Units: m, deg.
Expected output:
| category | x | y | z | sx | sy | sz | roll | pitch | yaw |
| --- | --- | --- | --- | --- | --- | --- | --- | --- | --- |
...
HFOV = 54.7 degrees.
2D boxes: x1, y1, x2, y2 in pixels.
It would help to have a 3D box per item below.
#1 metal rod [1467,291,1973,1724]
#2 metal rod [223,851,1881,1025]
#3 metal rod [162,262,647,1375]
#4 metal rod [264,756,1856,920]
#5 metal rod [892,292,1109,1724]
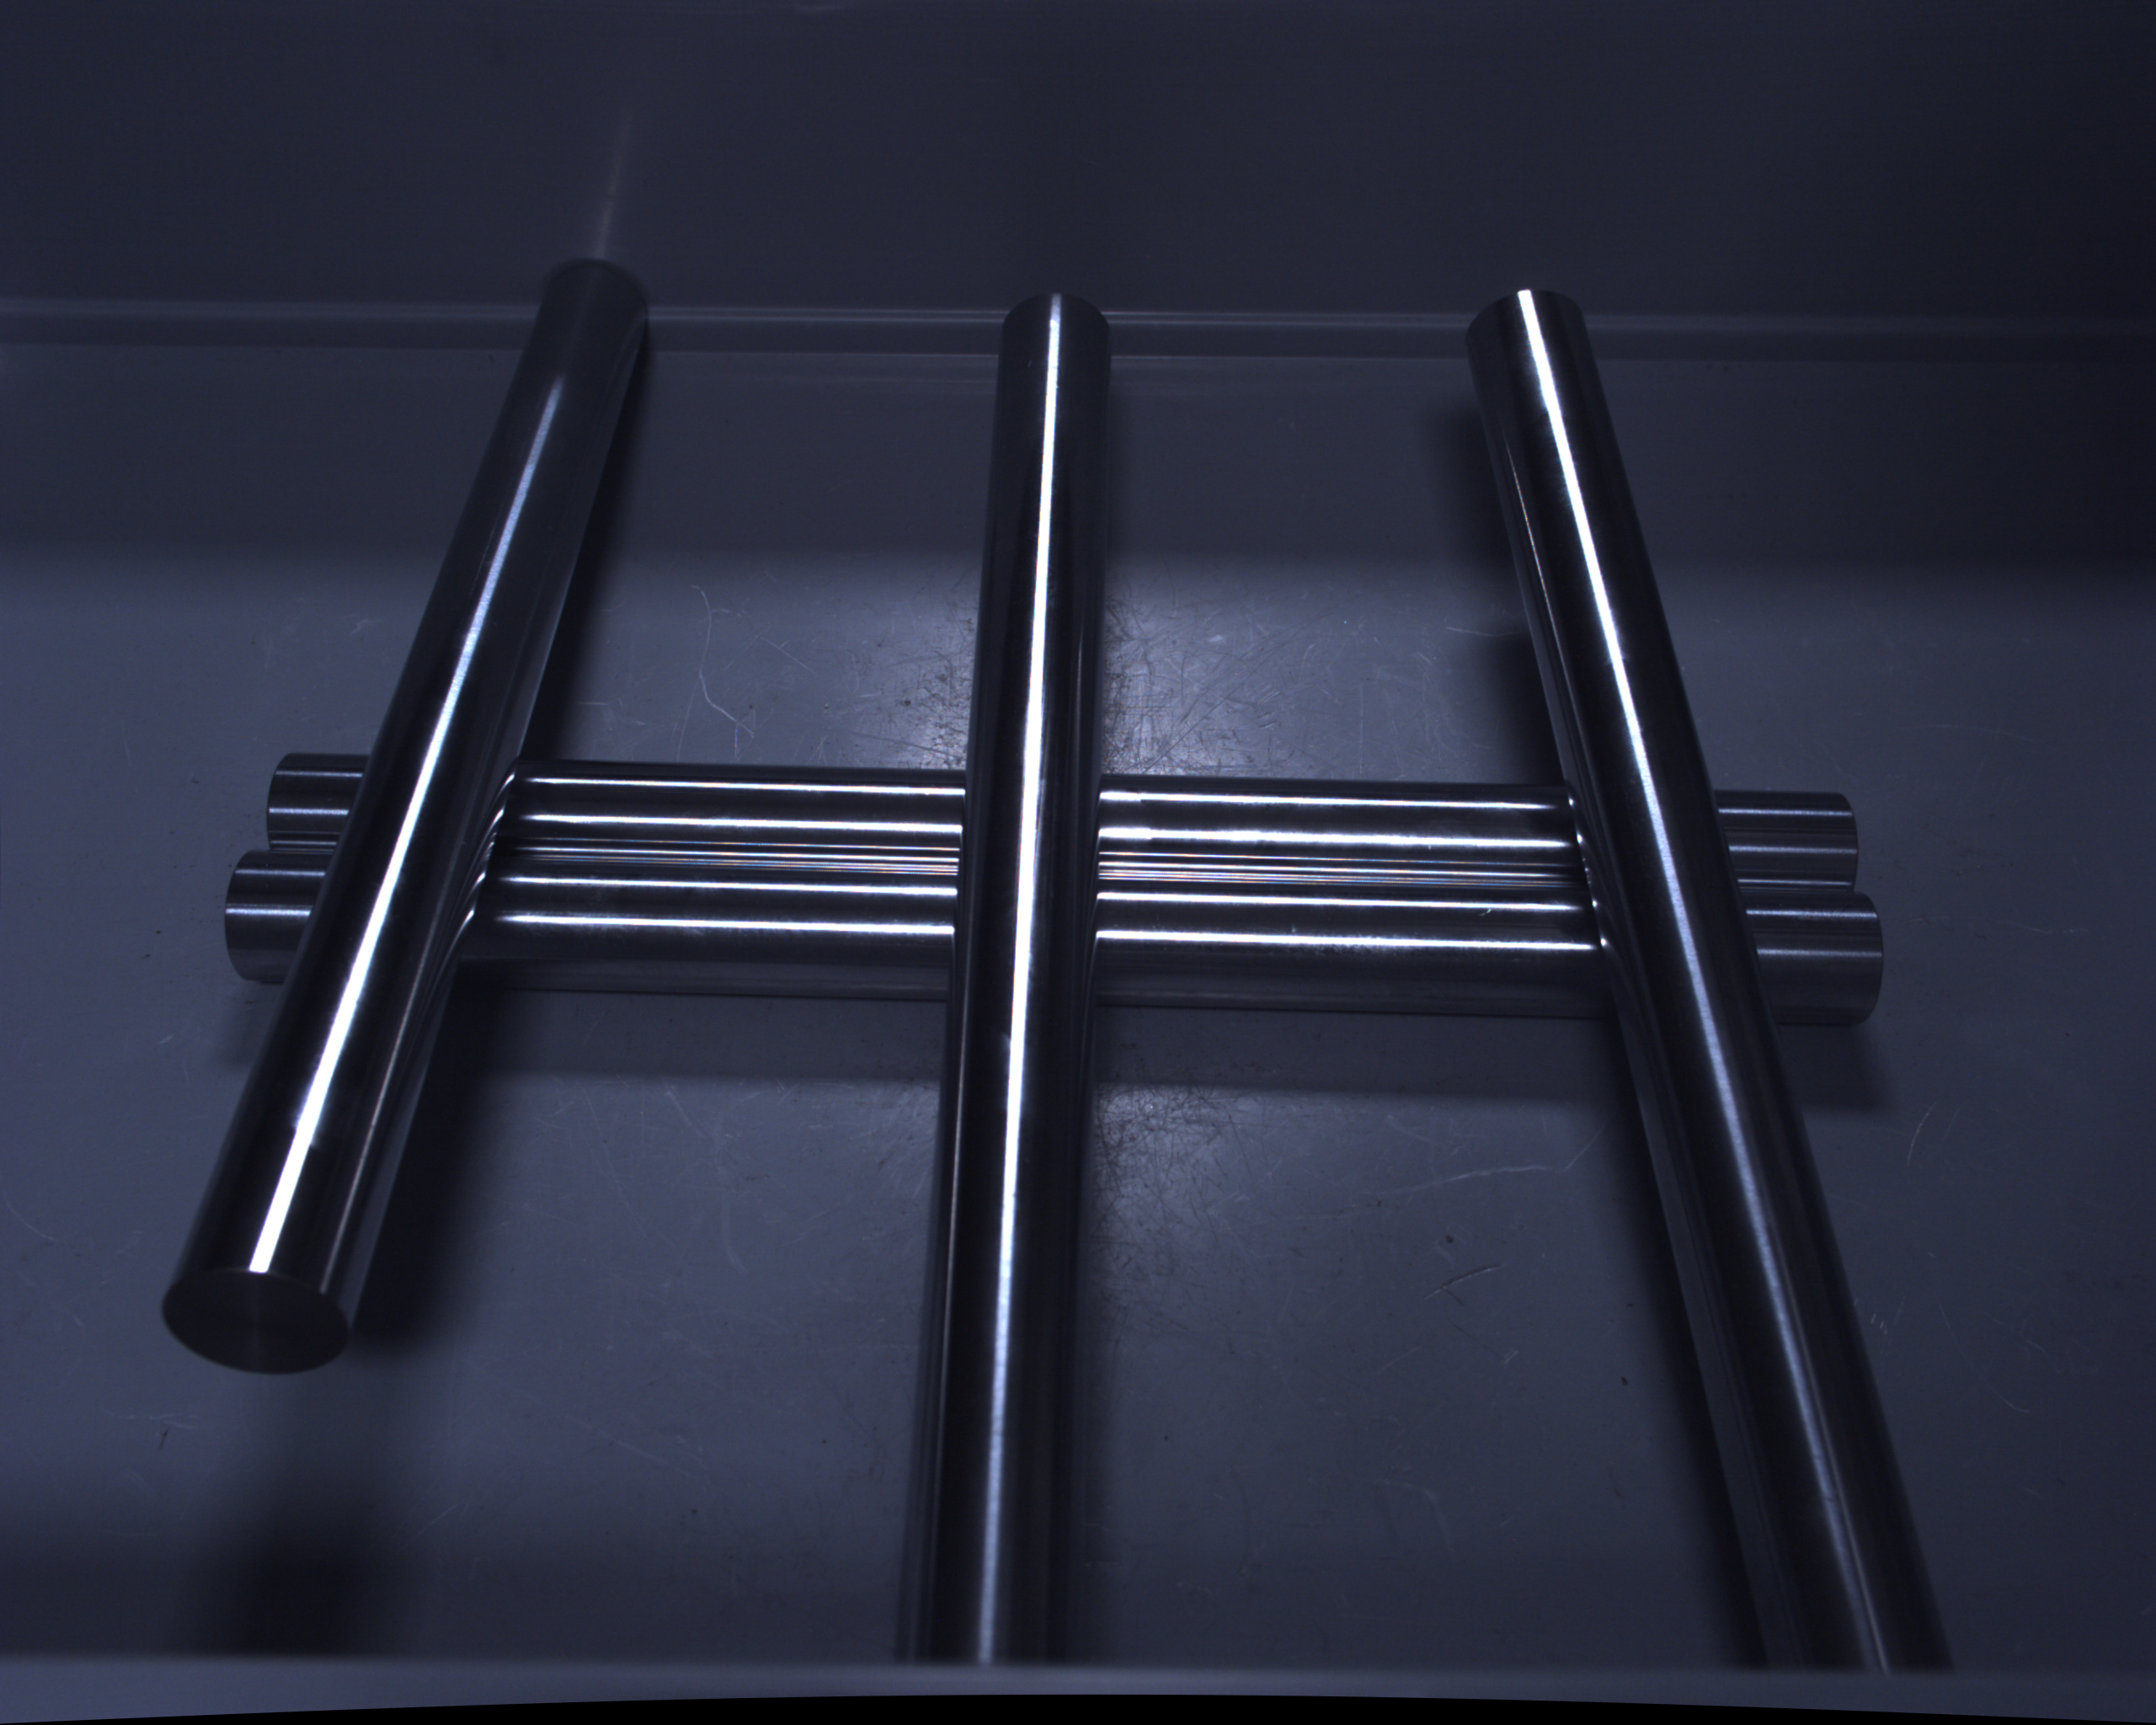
| category | x | y | z | sx | sy | sz | roll | pitch | yaw |
| --- | --- | --- | --- | --- | --- | --- | --- | --- | --- |
| metal rod | 0.105 | 0.015 | 0.363 | 0.025 | 0.025 | 0.299 | -3 | 58 | -3 |
| metal rod | -0.005 | 0.014 | 0.392 | 0.302 | 0.025 | 0.025 | 1 | 50 | 0 |
| metal rod | -0.116 | -0.036 | 0.401 | 0.025 | 0.025 | 0.300 | 0 | 42 | -1 |
| metal rod | -0.004 | -0.005 | 0.408 | 0.302 | 0.025 | 0.025 | 1 | 50 | 0 |
| metal rod | -0.009 | -0.003 | 0.374 | 0.025 | 0.025 | 0.300 | 1 | 50 | 1 |
